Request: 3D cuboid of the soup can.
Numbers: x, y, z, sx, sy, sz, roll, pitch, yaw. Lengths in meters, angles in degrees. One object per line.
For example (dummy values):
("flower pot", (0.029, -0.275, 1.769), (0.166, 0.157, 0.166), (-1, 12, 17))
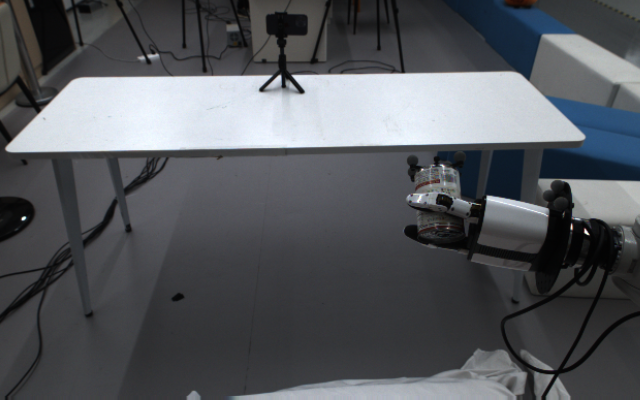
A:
("soup can", (0.176, 0.006, 0.713), (0.067, 0.067, 0.101), (2, 68, 0))
